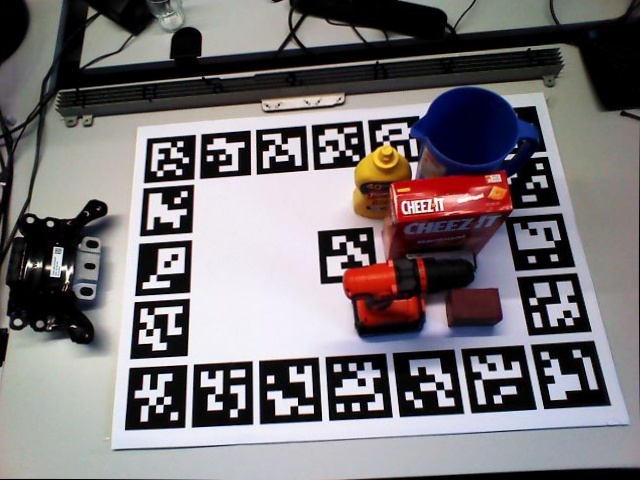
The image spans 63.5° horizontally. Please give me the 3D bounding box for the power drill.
[{"bbox_3d":[0.133,0.083,0.755,0.185,0.187,0.057,-5,66,2],"label":"power drill"}]

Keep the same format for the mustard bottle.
[{"bbox_3d":[0.109,-0.106,0.848,0.096,0.192,0.058,9,72,8],"label":"mustard bottle"}]

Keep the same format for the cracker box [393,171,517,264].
[{"bbox_3d":[0.199,-0.019,0.802,0.165,0.214,0.071,-6,68,5],"label":"cracker box"}]

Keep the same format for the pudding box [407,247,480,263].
[{"bbox_3d":[0.197,0.046,0.836,0.114,0.090,0.038,-4,68,6],"label":"pudding box"}]

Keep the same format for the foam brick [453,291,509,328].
[{"bbox_3d":[0.260,0.113,0.842,0.078,0.051,0.052,-2,72,4],"label":"foam brick"}]

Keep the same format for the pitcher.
[{"bbox_3d":[0.241,-0.119,0.829,0.189,0.243,0.132,2,70,7],"label":"pitcher"}]
